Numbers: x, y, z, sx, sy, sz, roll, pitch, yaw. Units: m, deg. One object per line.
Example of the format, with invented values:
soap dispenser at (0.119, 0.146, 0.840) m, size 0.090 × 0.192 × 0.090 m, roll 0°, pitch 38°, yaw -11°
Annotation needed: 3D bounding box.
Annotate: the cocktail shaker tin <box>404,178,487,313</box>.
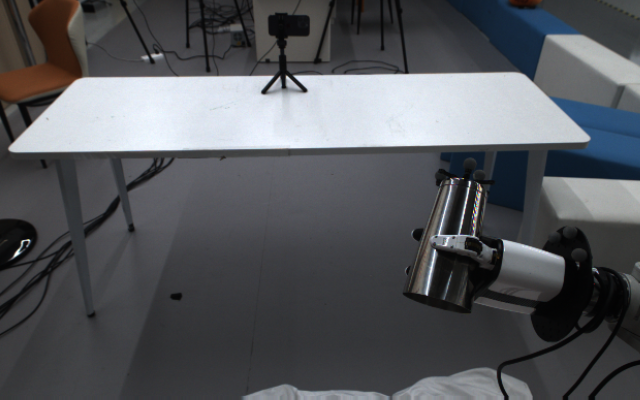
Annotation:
cocktail shaker tin at (0.179, 0.059, 0.666) m, size 0.093 × 0.093 × 0.170 m, roll 14°, pitch 73°, yaw 16°
